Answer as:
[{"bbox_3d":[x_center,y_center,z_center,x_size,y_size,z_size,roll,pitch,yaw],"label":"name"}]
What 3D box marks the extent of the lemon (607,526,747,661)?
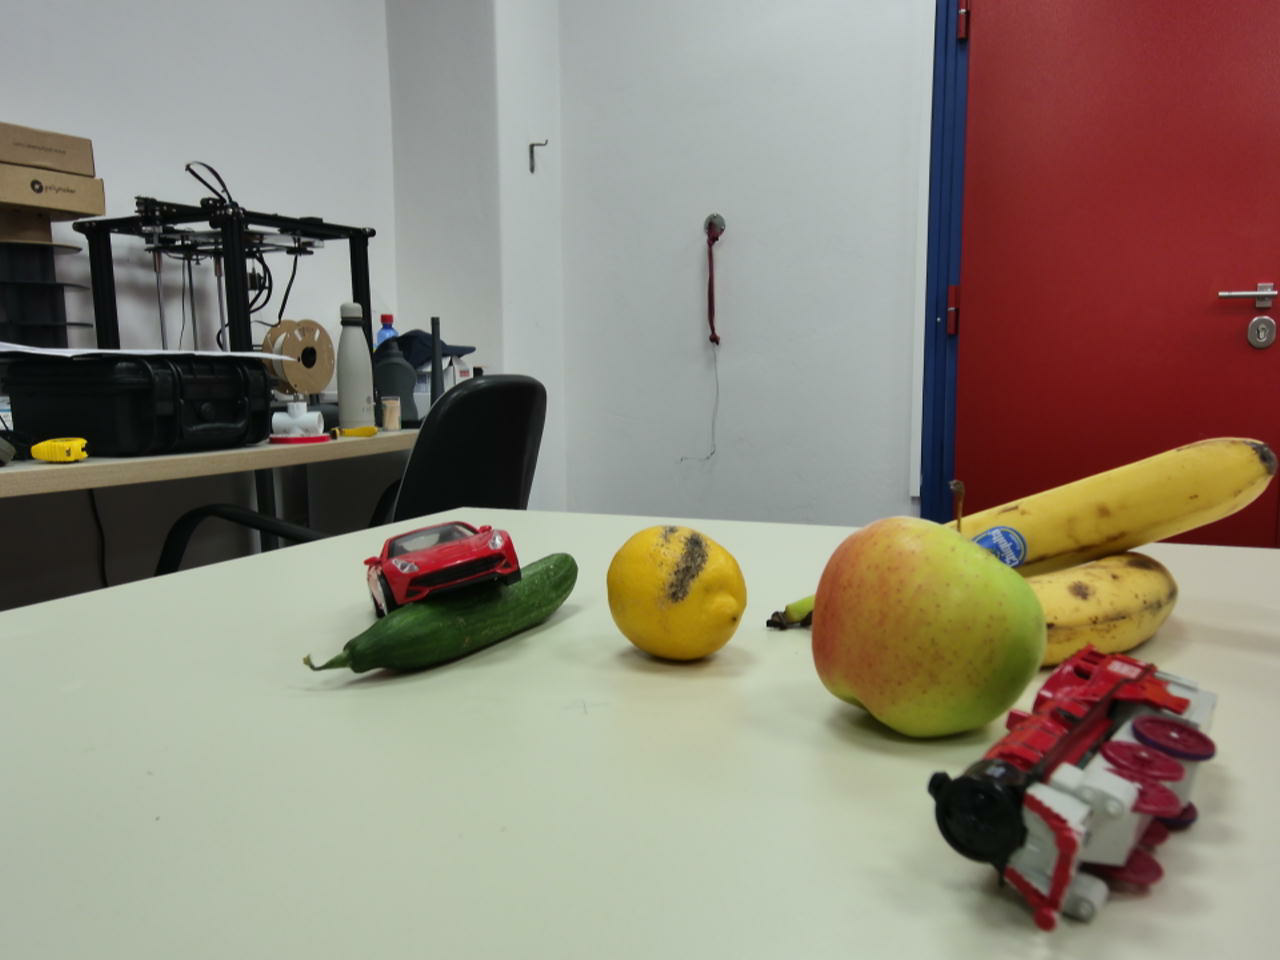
[{"bbox_3d":[0.016,0.049,0.432,0.061,0.056,0.058,2,4,17],"label":"lemon"}]
